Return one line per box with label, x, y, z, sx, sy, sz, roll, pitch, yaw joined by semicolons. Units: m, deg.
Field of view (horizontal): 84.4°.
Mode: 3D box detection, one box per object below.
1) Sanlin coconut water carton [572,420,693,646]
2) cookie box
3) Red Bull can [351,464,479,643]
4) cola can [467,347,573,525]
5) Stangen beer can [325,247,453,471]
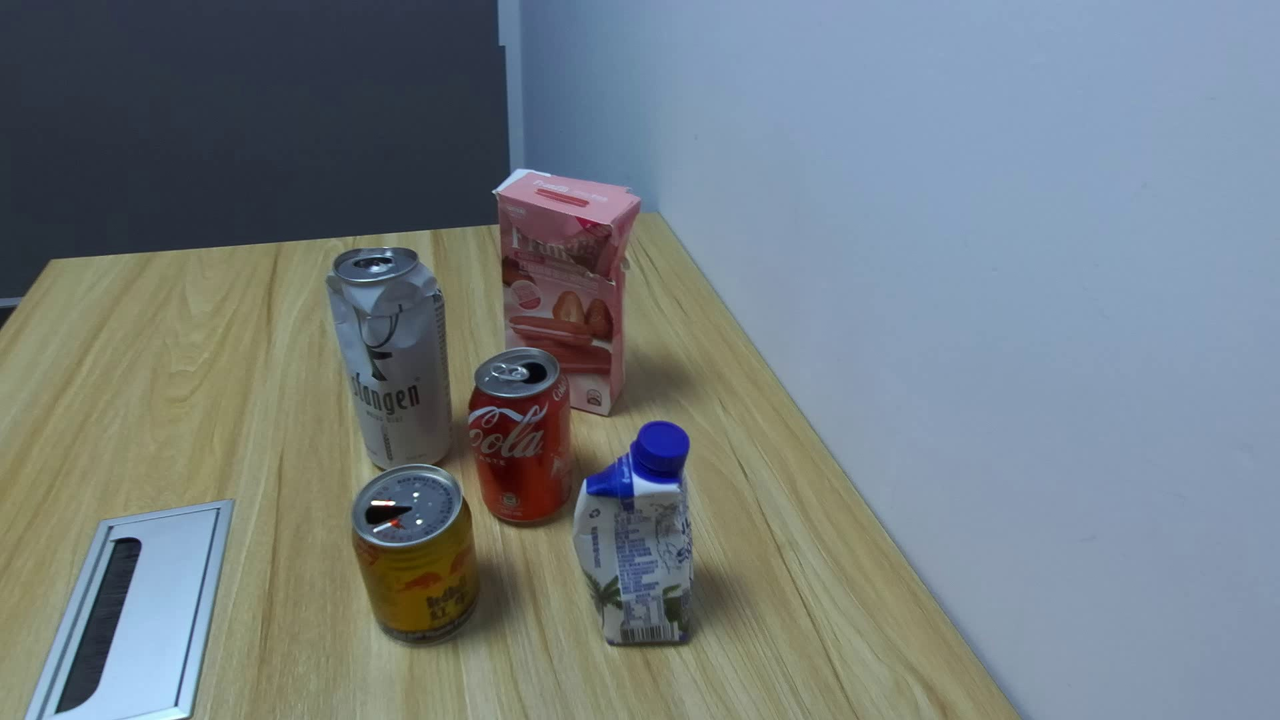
Sanlin coconut water carton;-0.003;0.098;0.410;0.068;0.145;0.056;-7;30;-2
cookie box;-0.059;-0.048;0.563;0.105;0.186;0.059;16;39;15
Red Bull can;-0.131;0.116;0.418;0.067;0.093;0.067;3;37;-2
cola can;-0.080;0.055;0.488;0.065;0.117;0.072;25;41;25
Stangen beer can;-0.174;0.002;0.506;0.066;0.166;0.065;-28;47;-36
